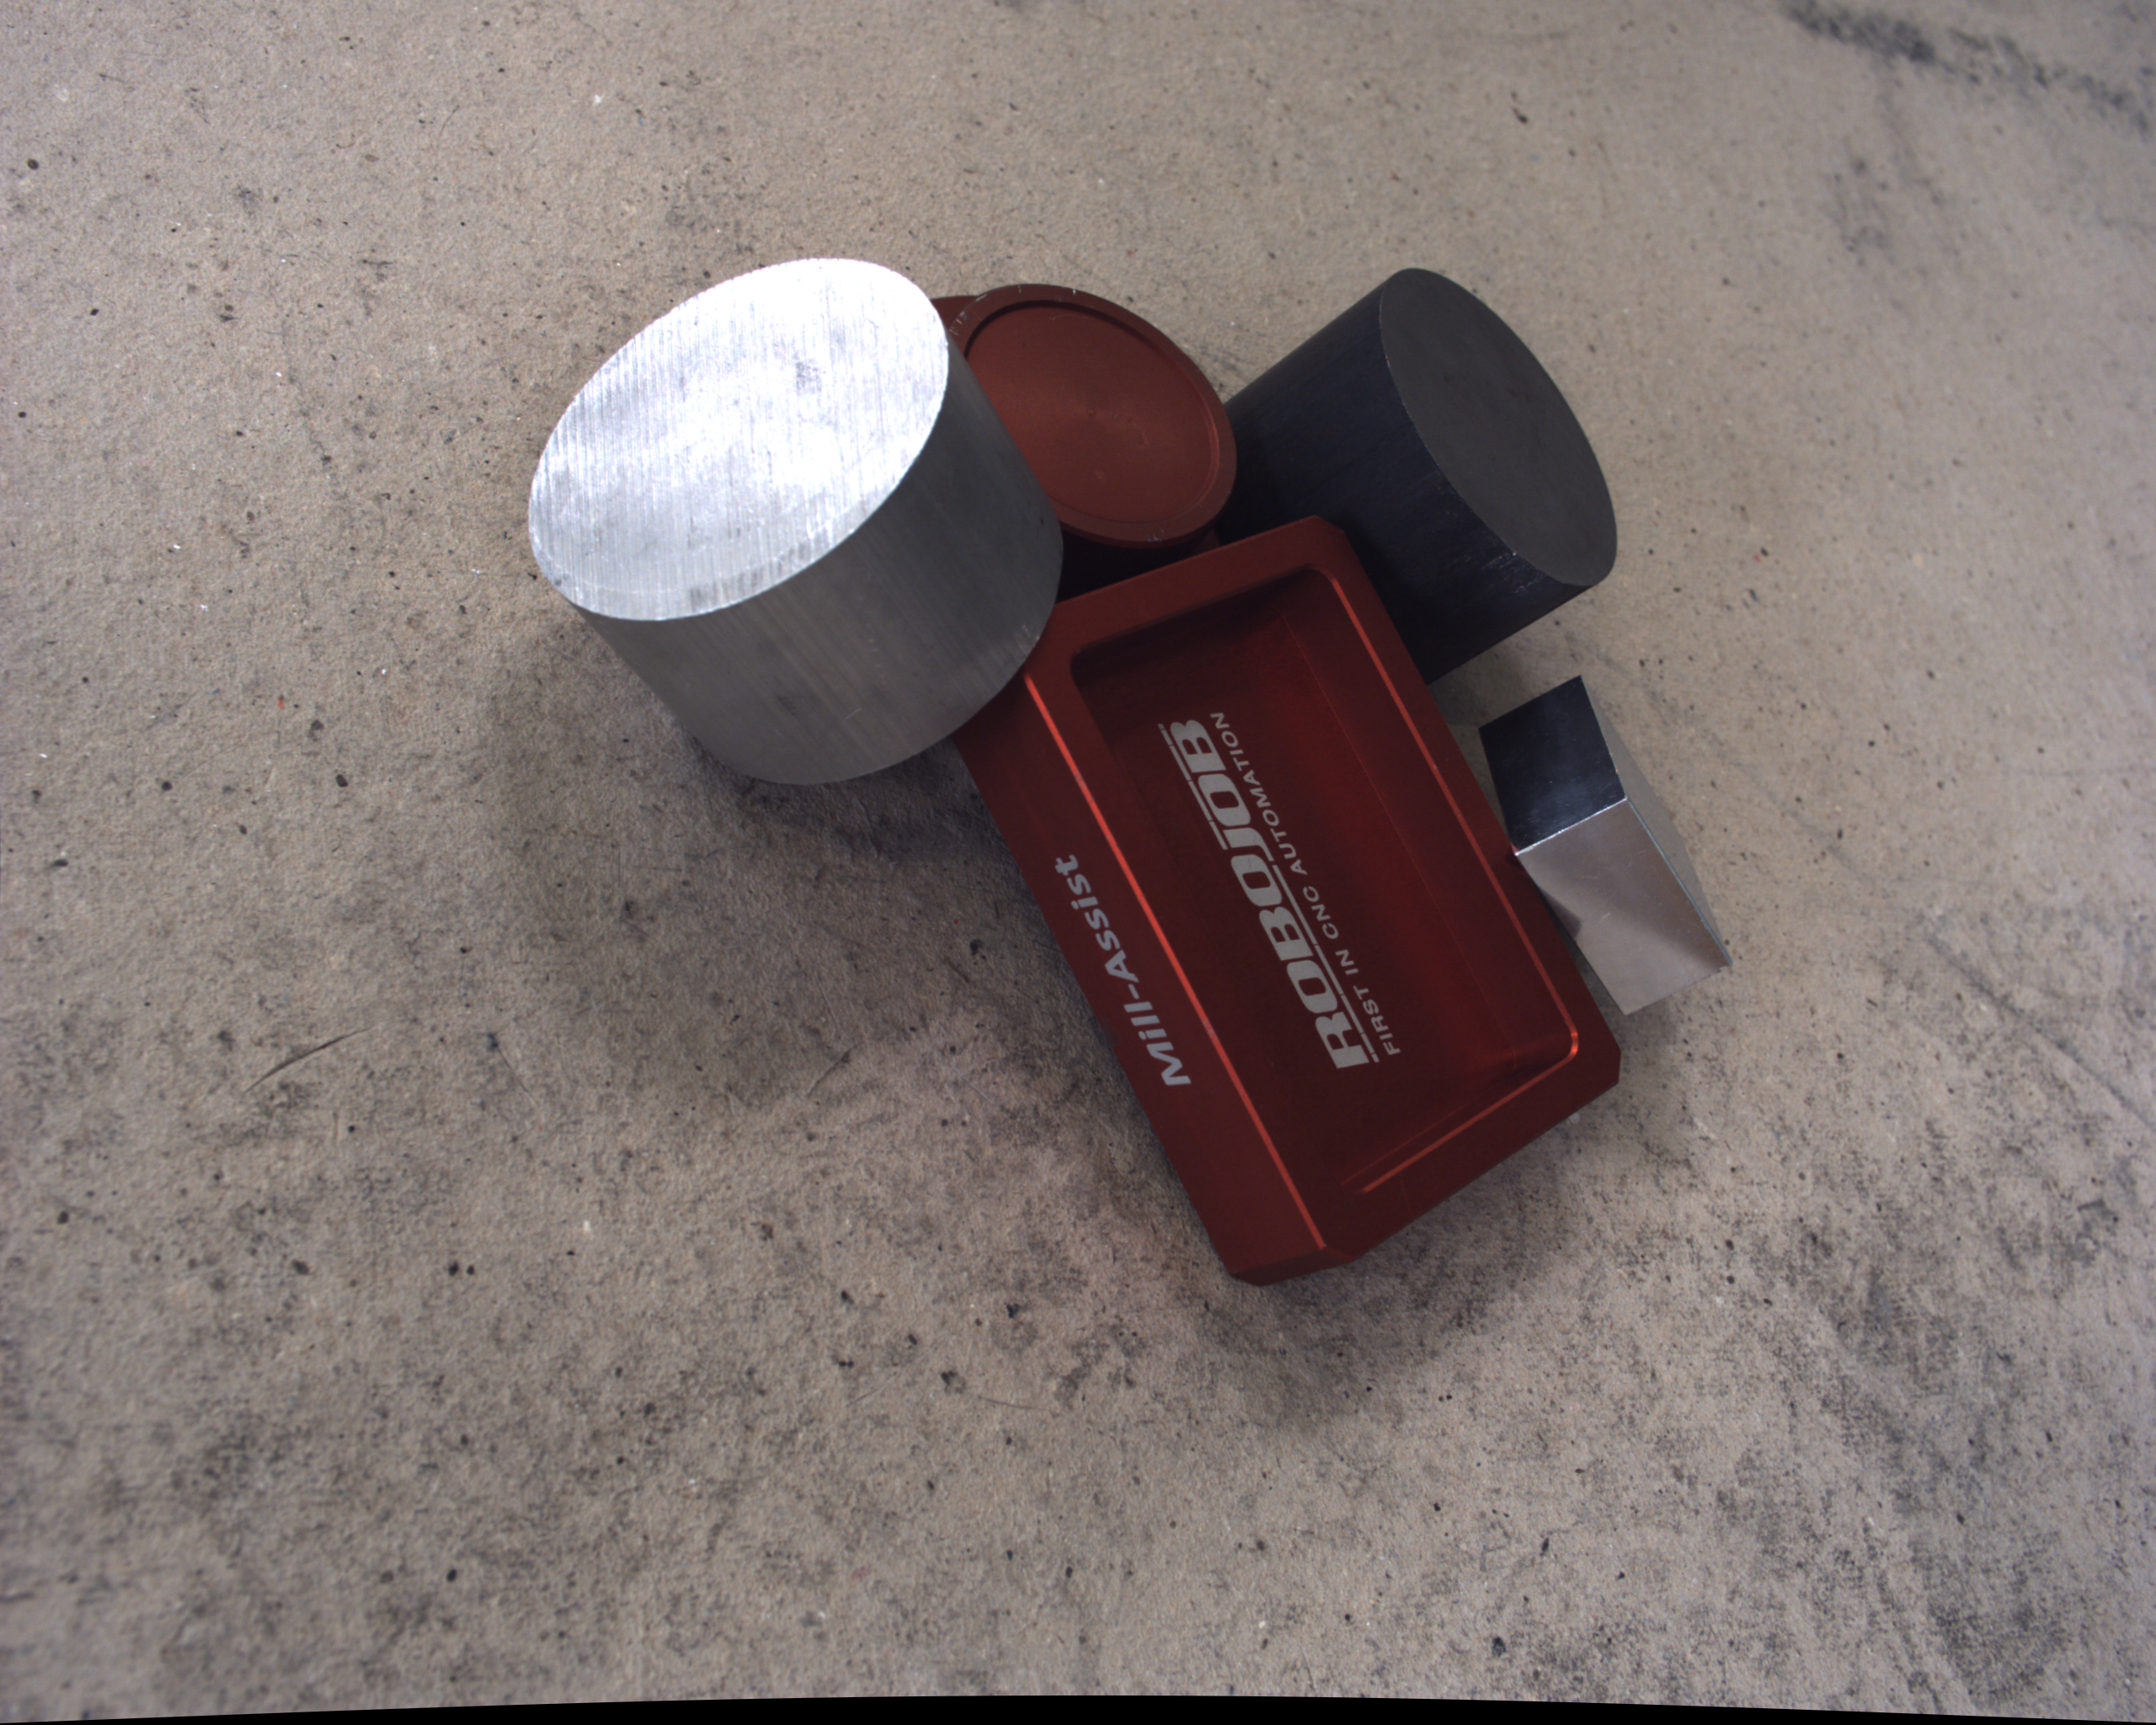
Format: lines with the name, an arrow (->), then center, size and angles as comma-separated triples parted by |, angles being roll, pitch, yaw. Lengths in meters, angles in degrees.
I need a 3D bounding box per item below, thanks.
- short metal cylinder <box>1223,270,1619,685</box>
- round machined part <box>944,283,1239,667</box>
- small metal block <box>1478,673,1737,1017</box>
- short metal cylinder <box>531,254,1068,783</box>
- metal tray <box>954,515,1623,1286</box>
short metal cylinder -> 0.076, -0.084, 0.468 | 0.080, 0.050, 0.080 | 27, 47, -33
round machined part -> -0.006, -0.083, 0.443 | 0.099, 0.042, 0.098 | 14, 56, -21
small metal block -> 0.112, -0.004, 0.445 | 0.050, 0.025, 0.050 | 51, 21, -27
short metal cylinder -> -0.049, -0.061, 0.373 | 0.050, 0.080, 0.080 | 54, 32, -51
metal tray -> 0.041, 0.004, 0.407 | 0.091, 0.030, 0.130 | -24, 84, -37
